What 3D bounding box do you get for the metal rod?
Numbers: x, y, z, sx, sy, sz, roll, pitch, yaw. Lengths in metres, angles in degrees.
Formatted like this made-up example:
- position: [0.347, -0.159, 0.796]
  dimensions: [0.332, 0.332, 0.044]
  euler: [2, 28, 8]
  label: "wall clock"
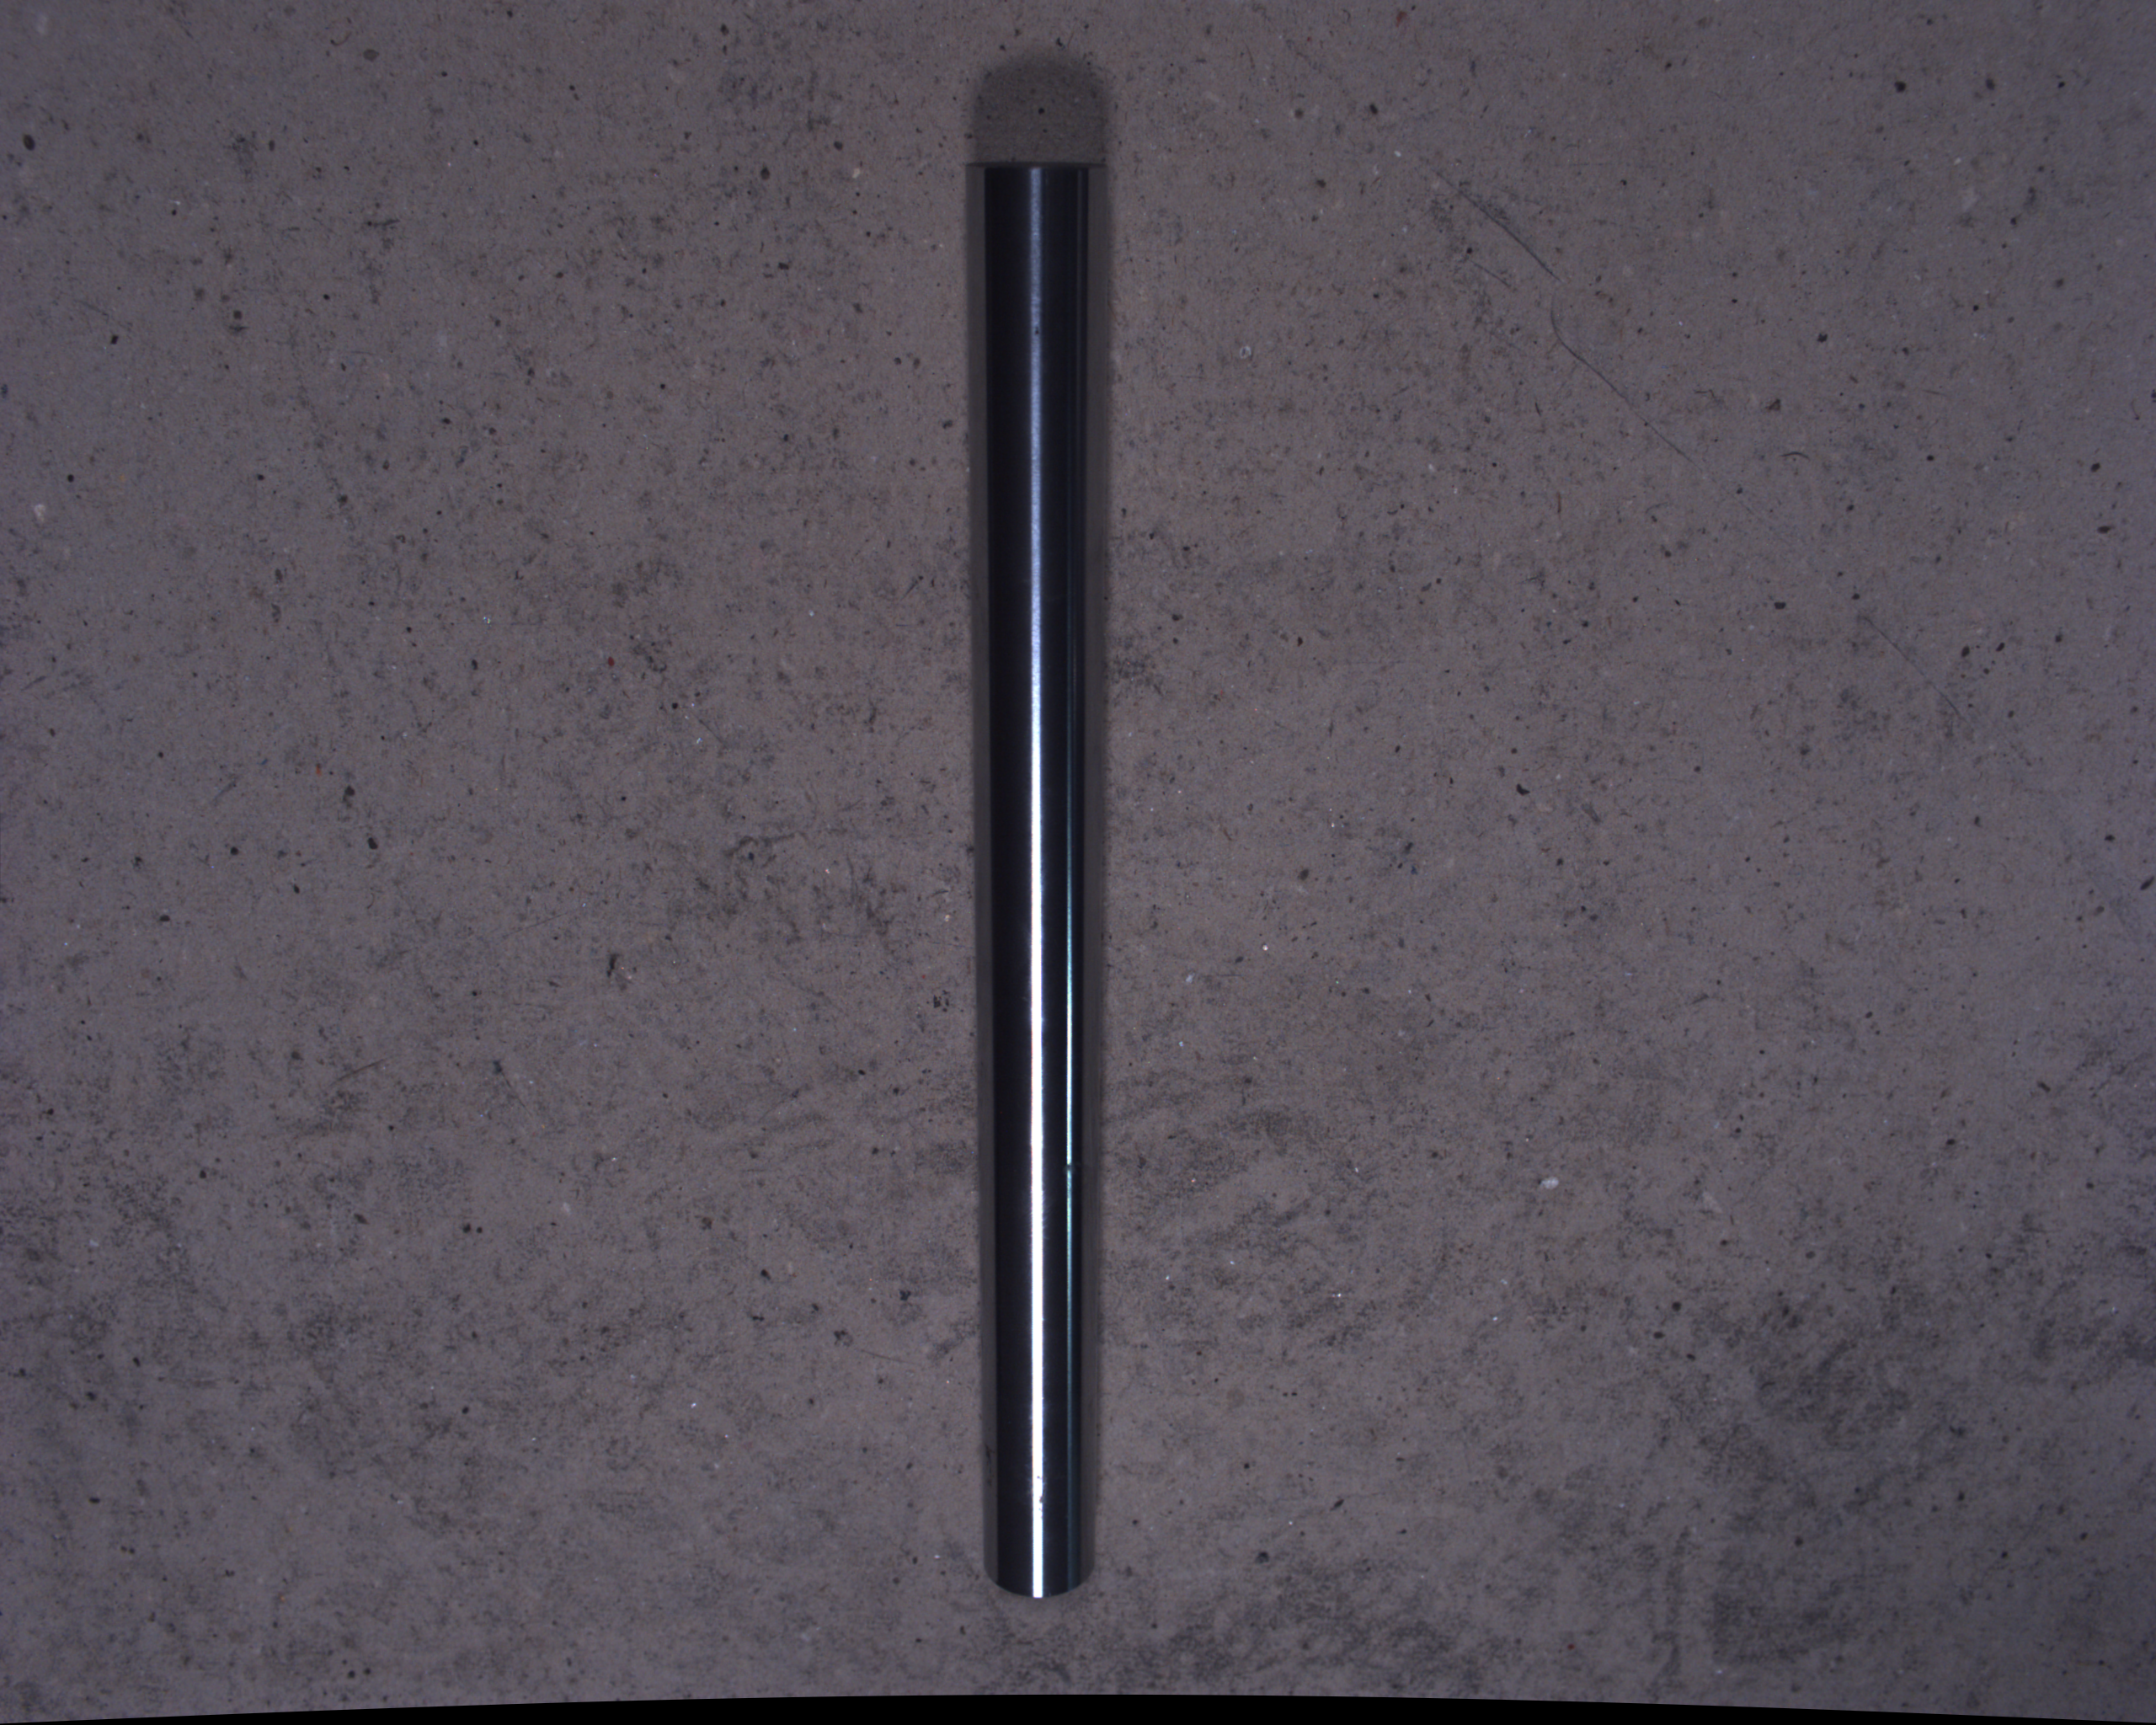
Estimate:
- position: [-0.008, 0.017, 0.417]
  dimensions: [0.025, 0.025, 0.298]
  euler: [0, 110, -1]
  label: "metal rod"
